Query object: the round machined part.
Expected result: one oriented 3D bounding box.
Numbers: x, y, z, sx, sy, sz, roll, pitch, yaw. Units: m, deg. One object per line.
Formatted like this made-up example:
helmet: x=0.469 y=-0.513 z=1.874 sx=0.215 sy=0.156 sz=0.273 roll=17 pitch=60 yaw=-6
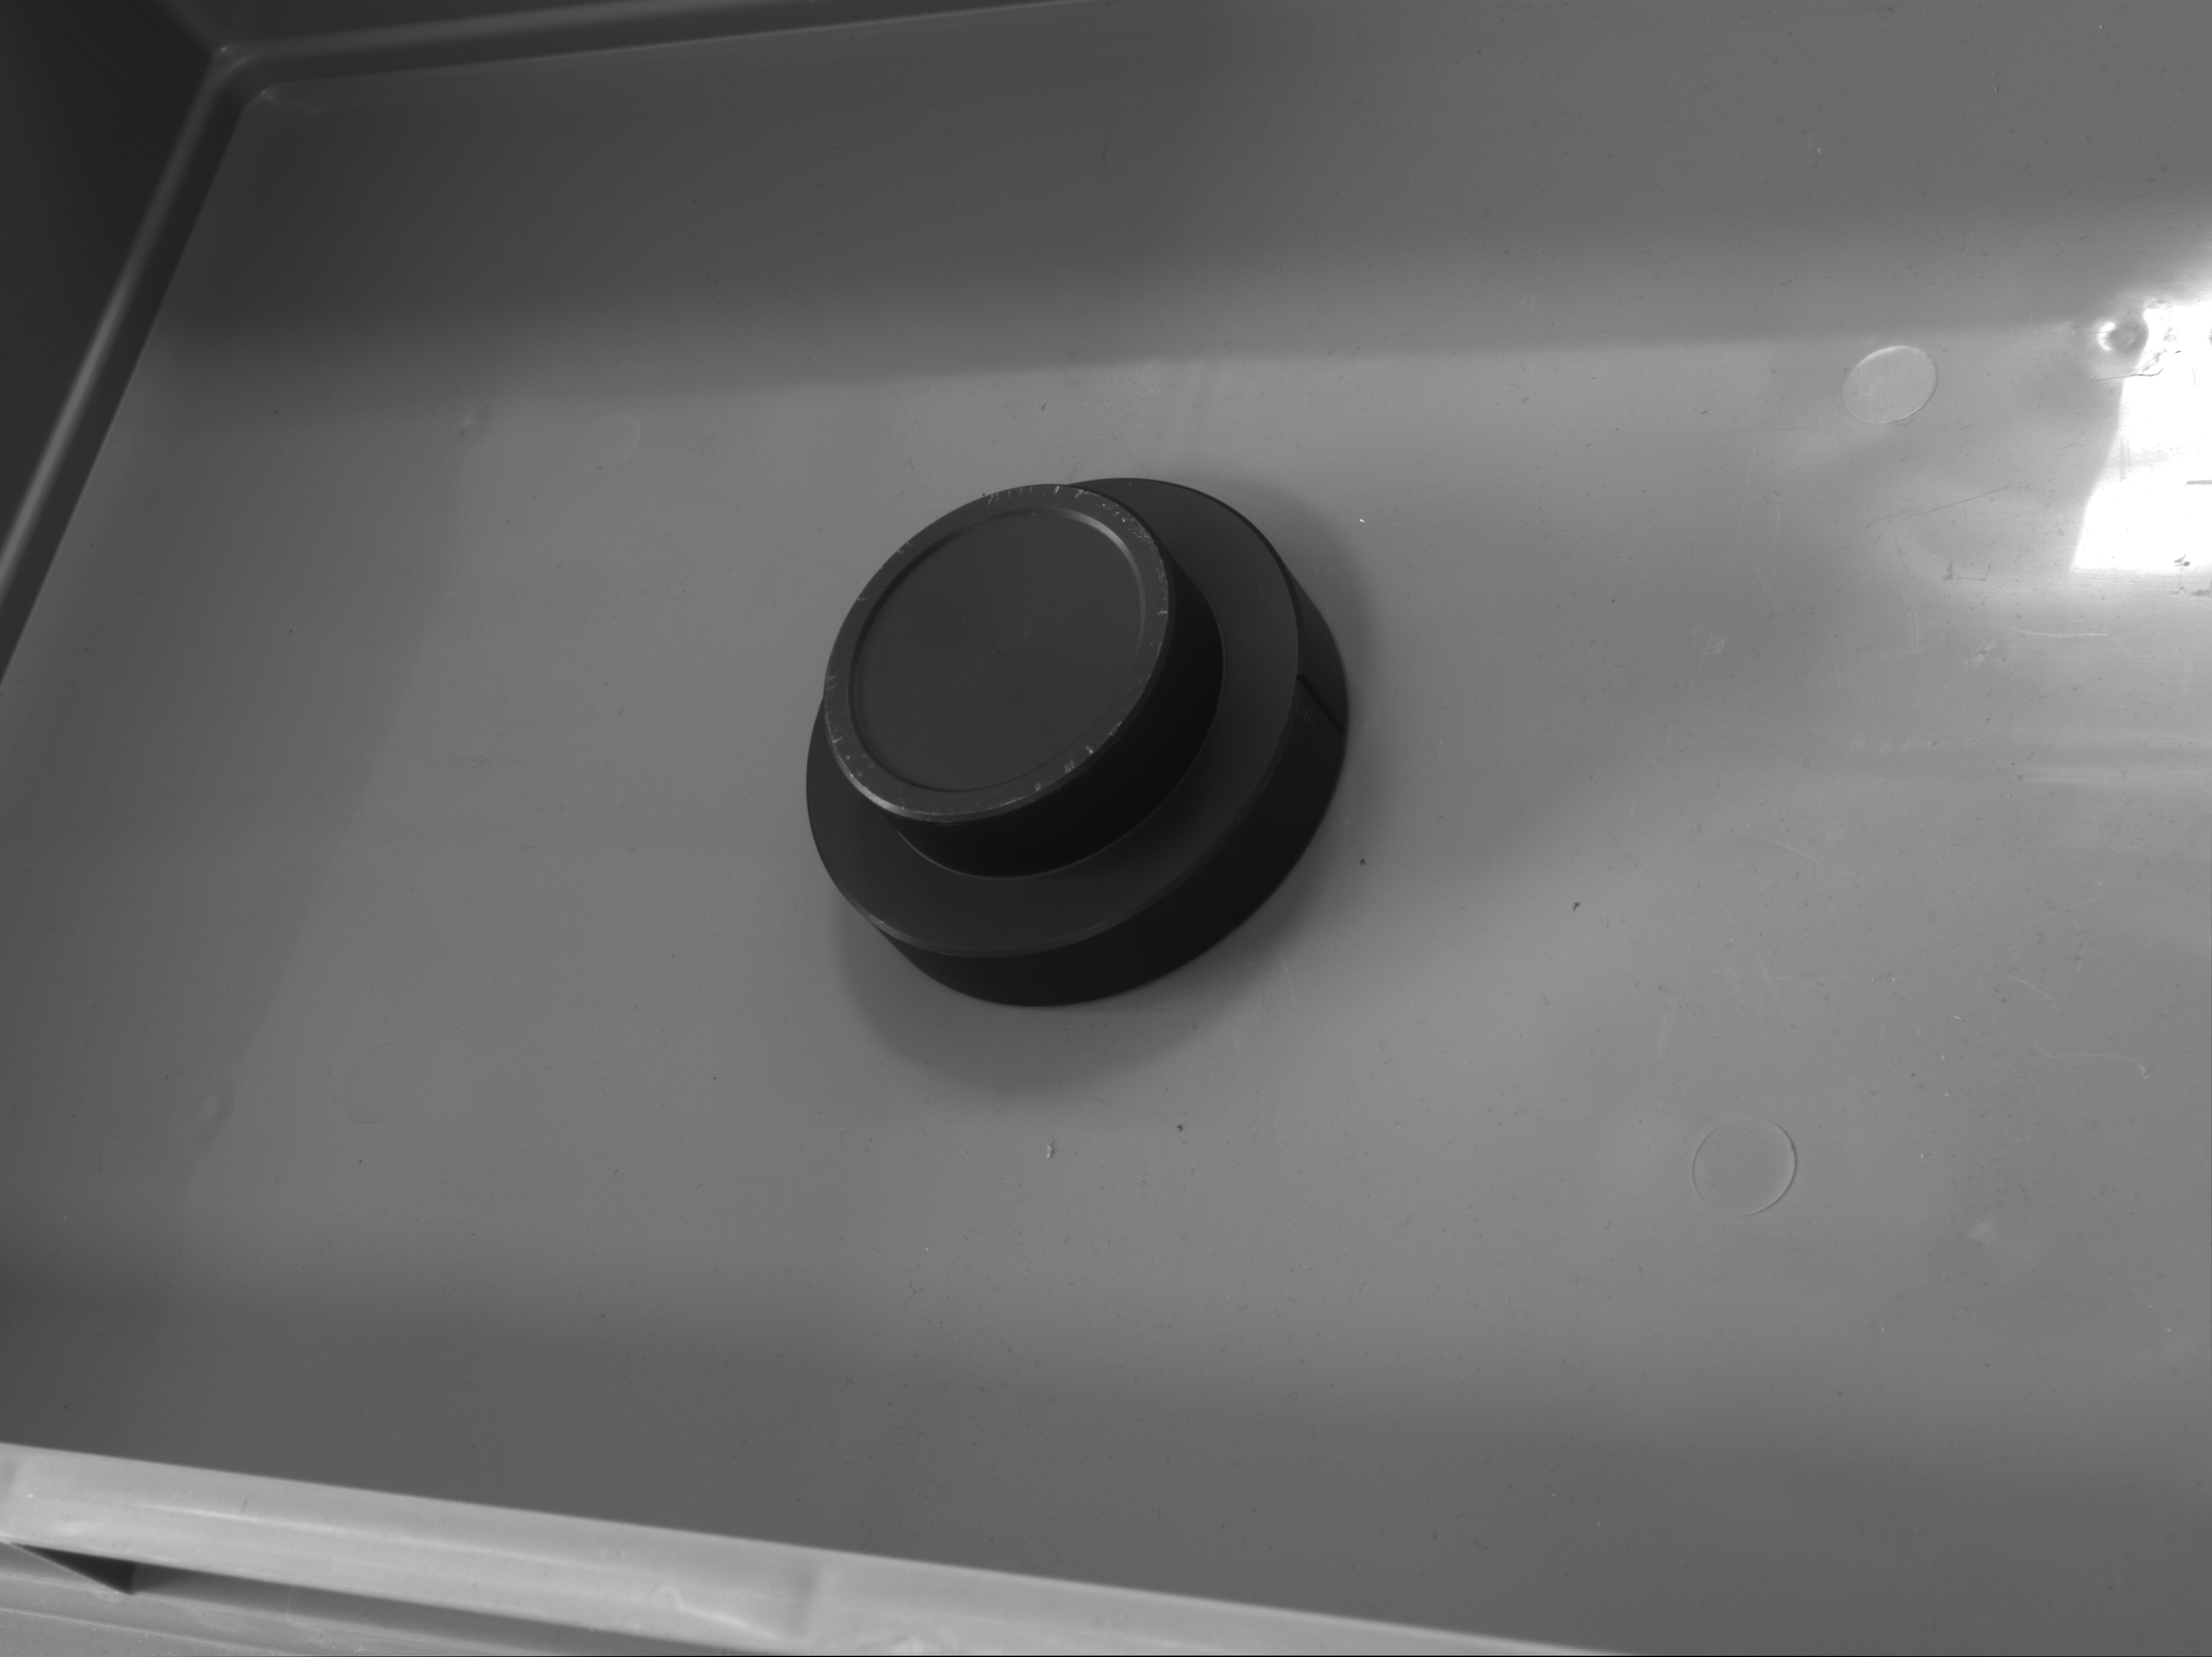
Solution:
round machined part: x=-0.010 y=-0.021 z=0.650 sx=0.098 sy=0.042 sz=0.098 roll=-14 pitch=56 yaw=21
